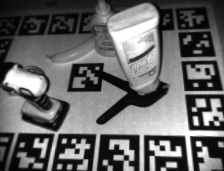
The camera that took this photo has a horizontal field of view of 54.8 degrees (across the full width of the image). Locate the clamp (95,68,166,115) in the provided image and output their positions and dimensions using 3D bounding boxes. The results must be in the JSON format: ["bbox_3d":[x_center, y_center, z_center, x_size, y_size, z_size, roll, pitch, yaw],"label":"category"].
[{"bbox_3d":[0.046,-0.007,0.591,0.202,0.037,0.164,-6,64,2],"label":"clamp"}]

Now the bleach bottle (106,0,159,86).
[{"bbox_3d":[0.067,-0.072,0.502,0.102,0.253,0.067,-21,57,5],"label":"bleach bottle"}]

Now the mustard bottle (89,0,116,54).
[{"bbox_3d":[-0.026,-0.171,0.620,0.095,0.193,0.058,12,64,13],"label":"mustard bottle"}]

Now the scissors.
[{"bbox_3d":[-0.284,-0.060,0.572,0.201,0.016,0.088,24,71,13],"label":"scissors"}]

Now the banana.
[{"bbox_3d":[-0.124,-0.150,0.696,0.198,0.039,0.073,-36,47,-12],"label":"banana"}]

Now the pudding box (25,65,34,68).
[{"bbox_3d":[-0.267,-0.024,0.624,0.113,0.090,0.038,3,56,8],"label":"pudding box"}]

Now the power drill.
[{"bbox_3d":[-0.224,0.013,0.511,0.183,0.188,0.057,9,57,16],"label":"power drill"}]
